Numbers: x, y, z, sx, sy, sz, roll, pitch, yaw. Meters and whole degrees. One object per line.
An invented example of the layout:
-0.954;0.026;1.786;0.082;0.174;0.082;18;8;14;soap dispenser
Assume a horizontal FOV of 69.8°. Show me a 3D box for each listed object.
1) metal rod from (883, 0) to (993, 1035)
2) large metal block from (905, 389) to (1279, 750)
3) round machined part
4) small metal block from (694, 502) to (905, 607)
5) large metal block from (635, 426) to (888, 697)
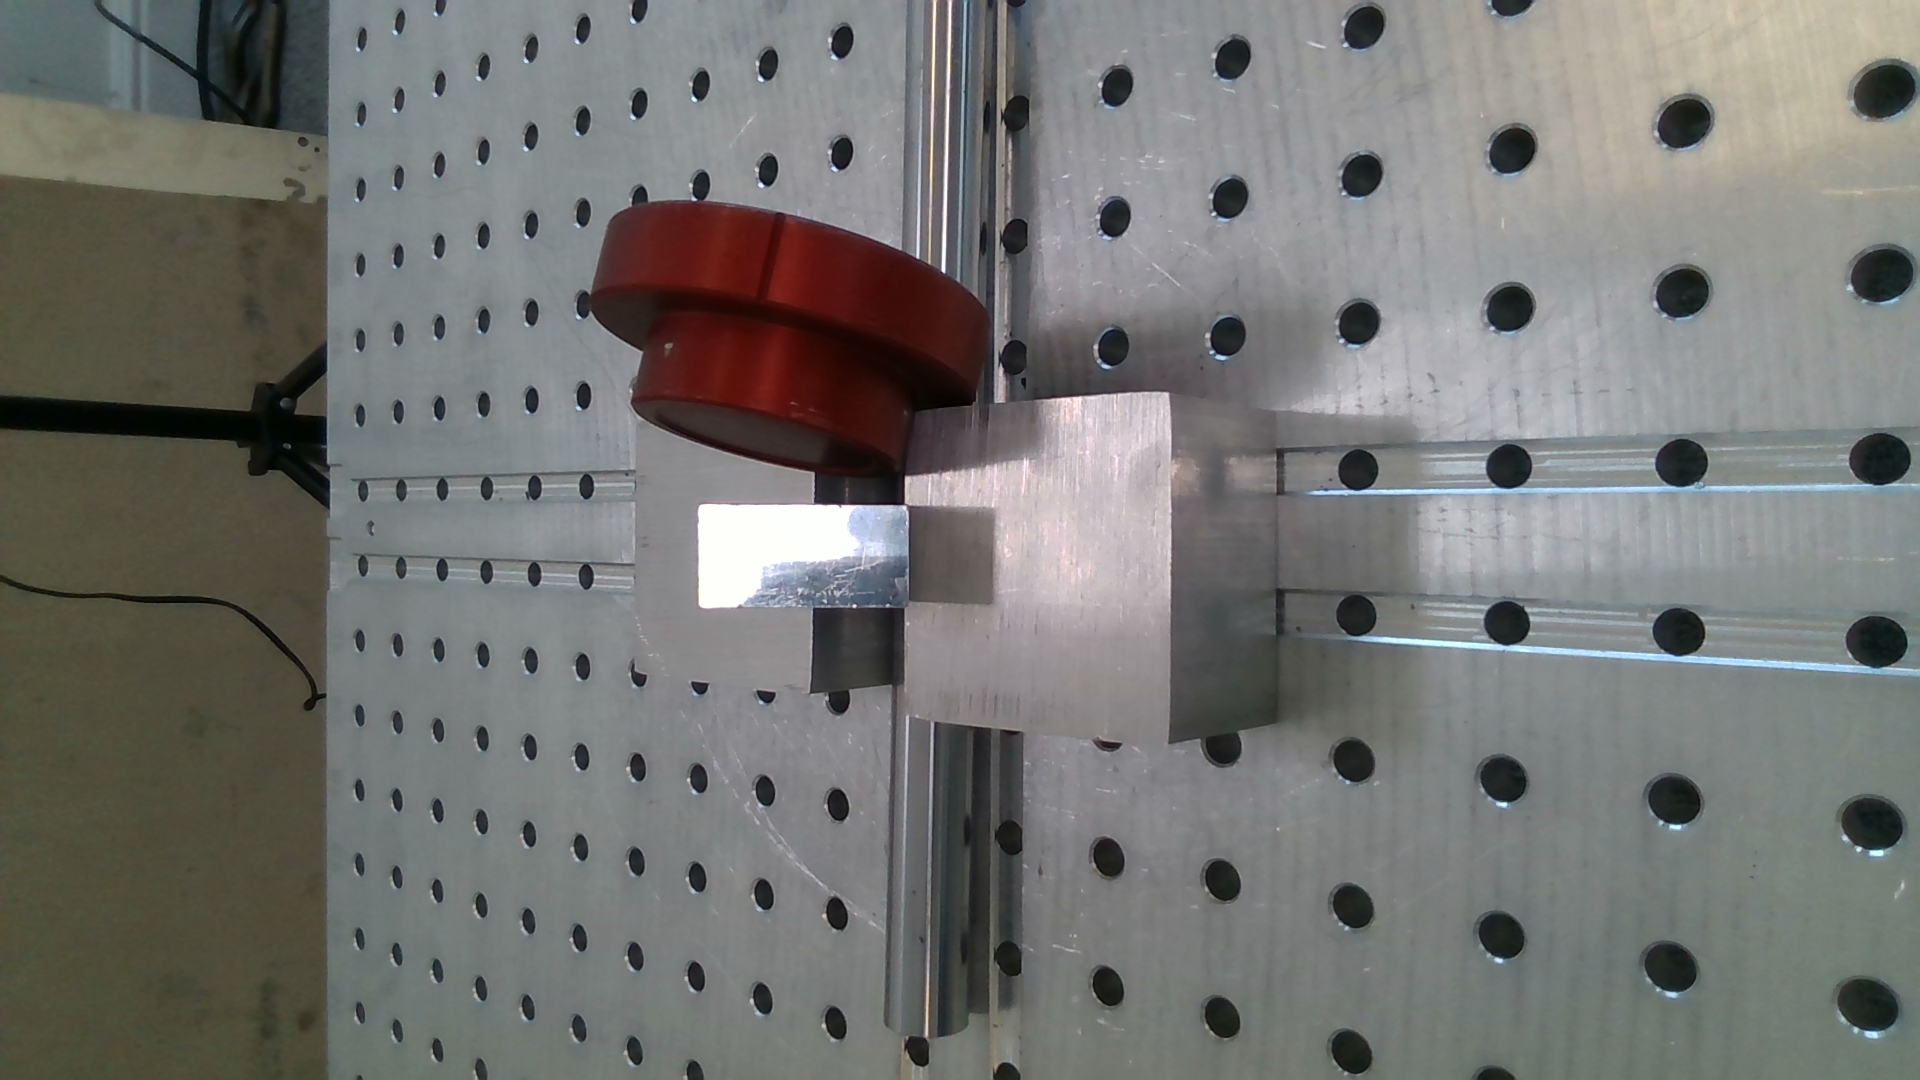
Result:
-0.007;-0.010;0.399;0.025;0.025;0.300;3;92;40;metal rod
0.033;0.006;0.350;0.080;0.050;0.080;1;91;40;large metal block
-0.045;-0.045;0.346;0.098;0.098;0.042;5;79;40;round machined part
-0.040;0.003;0.354;0.050;0.050;0.025;0;91;-4;small metal block
-0.055;0.003;0.424;0.080;0.050;0.080;2;91;40;large metal block
